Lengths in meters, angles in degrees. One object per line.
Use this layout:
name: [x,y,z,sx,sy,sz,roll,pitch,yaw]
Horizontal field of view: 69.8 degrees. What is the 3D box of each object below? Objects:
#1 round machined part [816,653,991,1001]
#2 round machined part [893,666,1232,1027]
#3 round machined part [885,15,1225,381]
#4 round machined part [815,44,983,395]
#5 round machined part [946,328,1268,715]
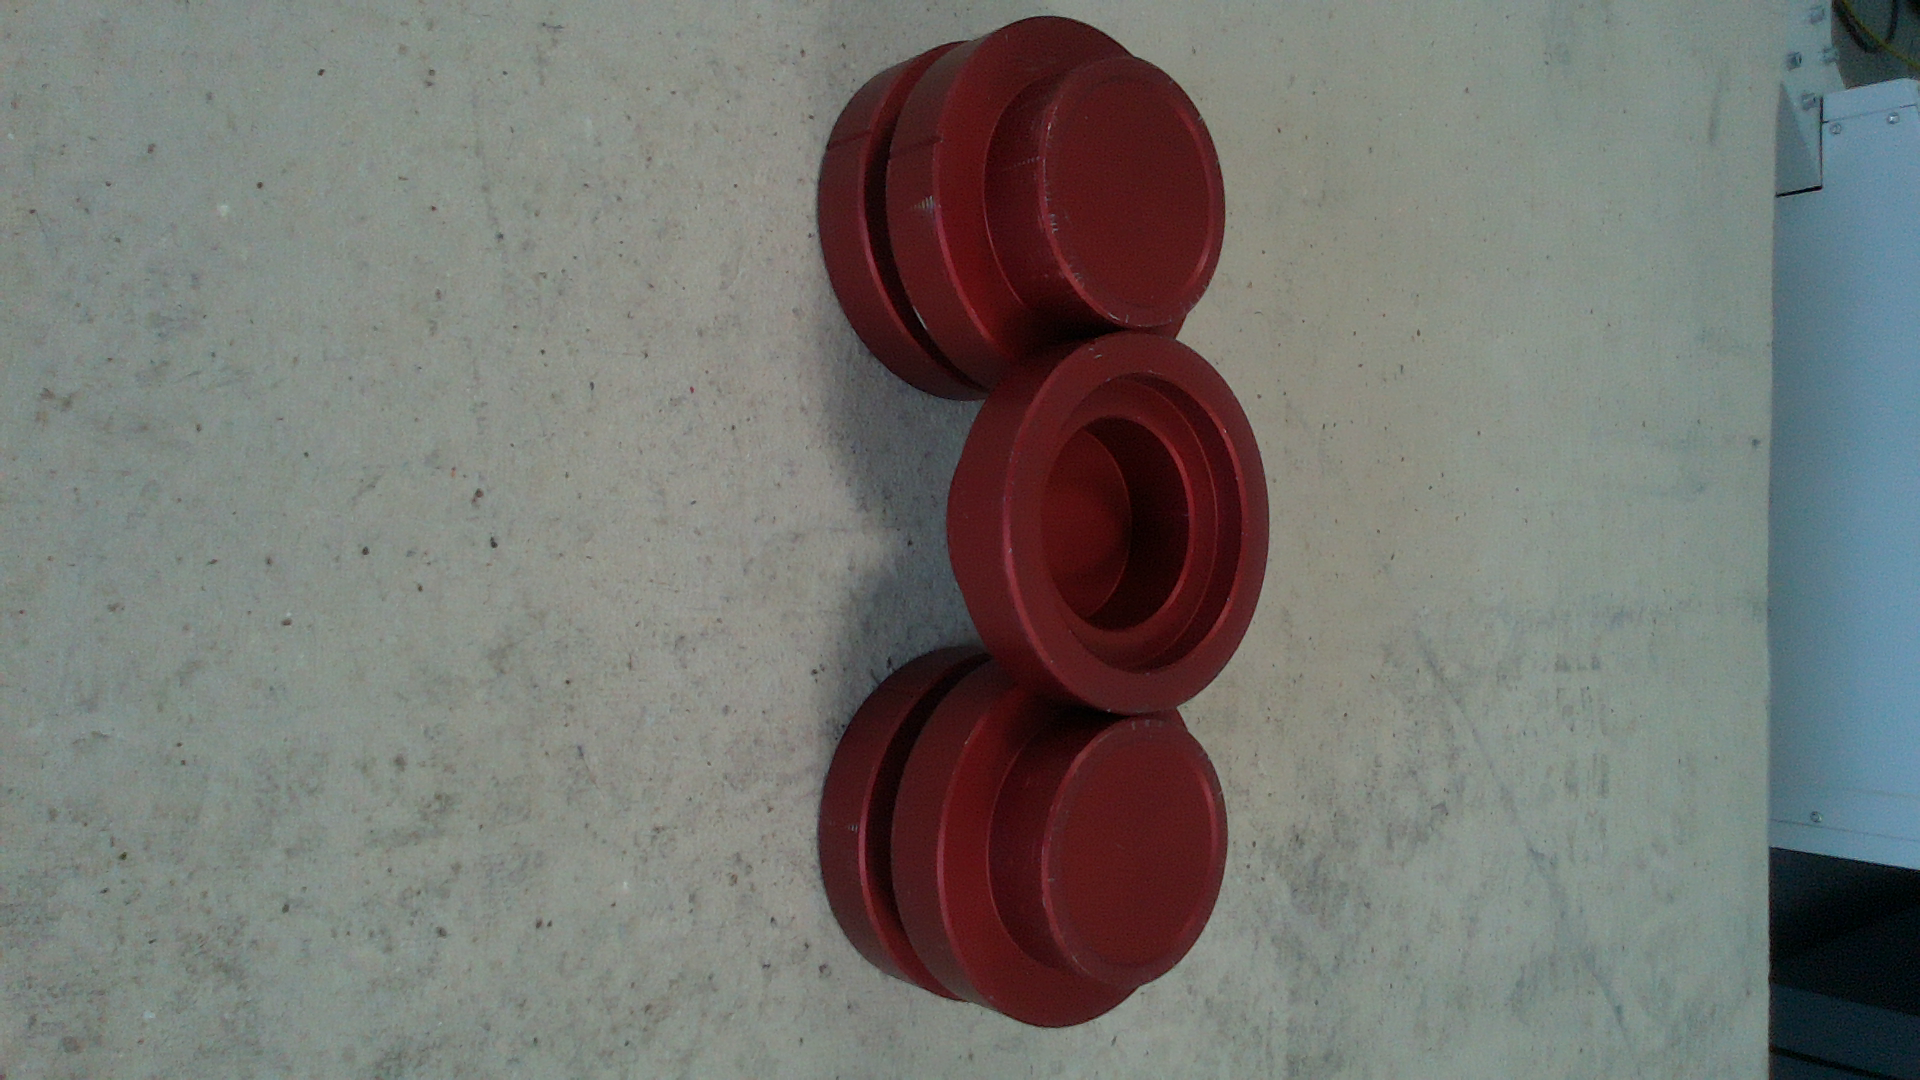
round machined part: [0.011,0.081,0.389,0.098,0.042,0.098,1,88,-39]
round machined part: [0.034,0.079,0.363,0.098,0.042,0.098,-1,91,-39]
round machined part: [0.032,-0.088,0.362,0.098,0.042,0.098,-1,91,-39]
round machined part: [0.012,-0.090,0.387,0.098,0.042,0.098,0,91,-38]
round machined part: [0.035,-0.005,0.366,0.098,0.042,0.098,0,90,-40]
